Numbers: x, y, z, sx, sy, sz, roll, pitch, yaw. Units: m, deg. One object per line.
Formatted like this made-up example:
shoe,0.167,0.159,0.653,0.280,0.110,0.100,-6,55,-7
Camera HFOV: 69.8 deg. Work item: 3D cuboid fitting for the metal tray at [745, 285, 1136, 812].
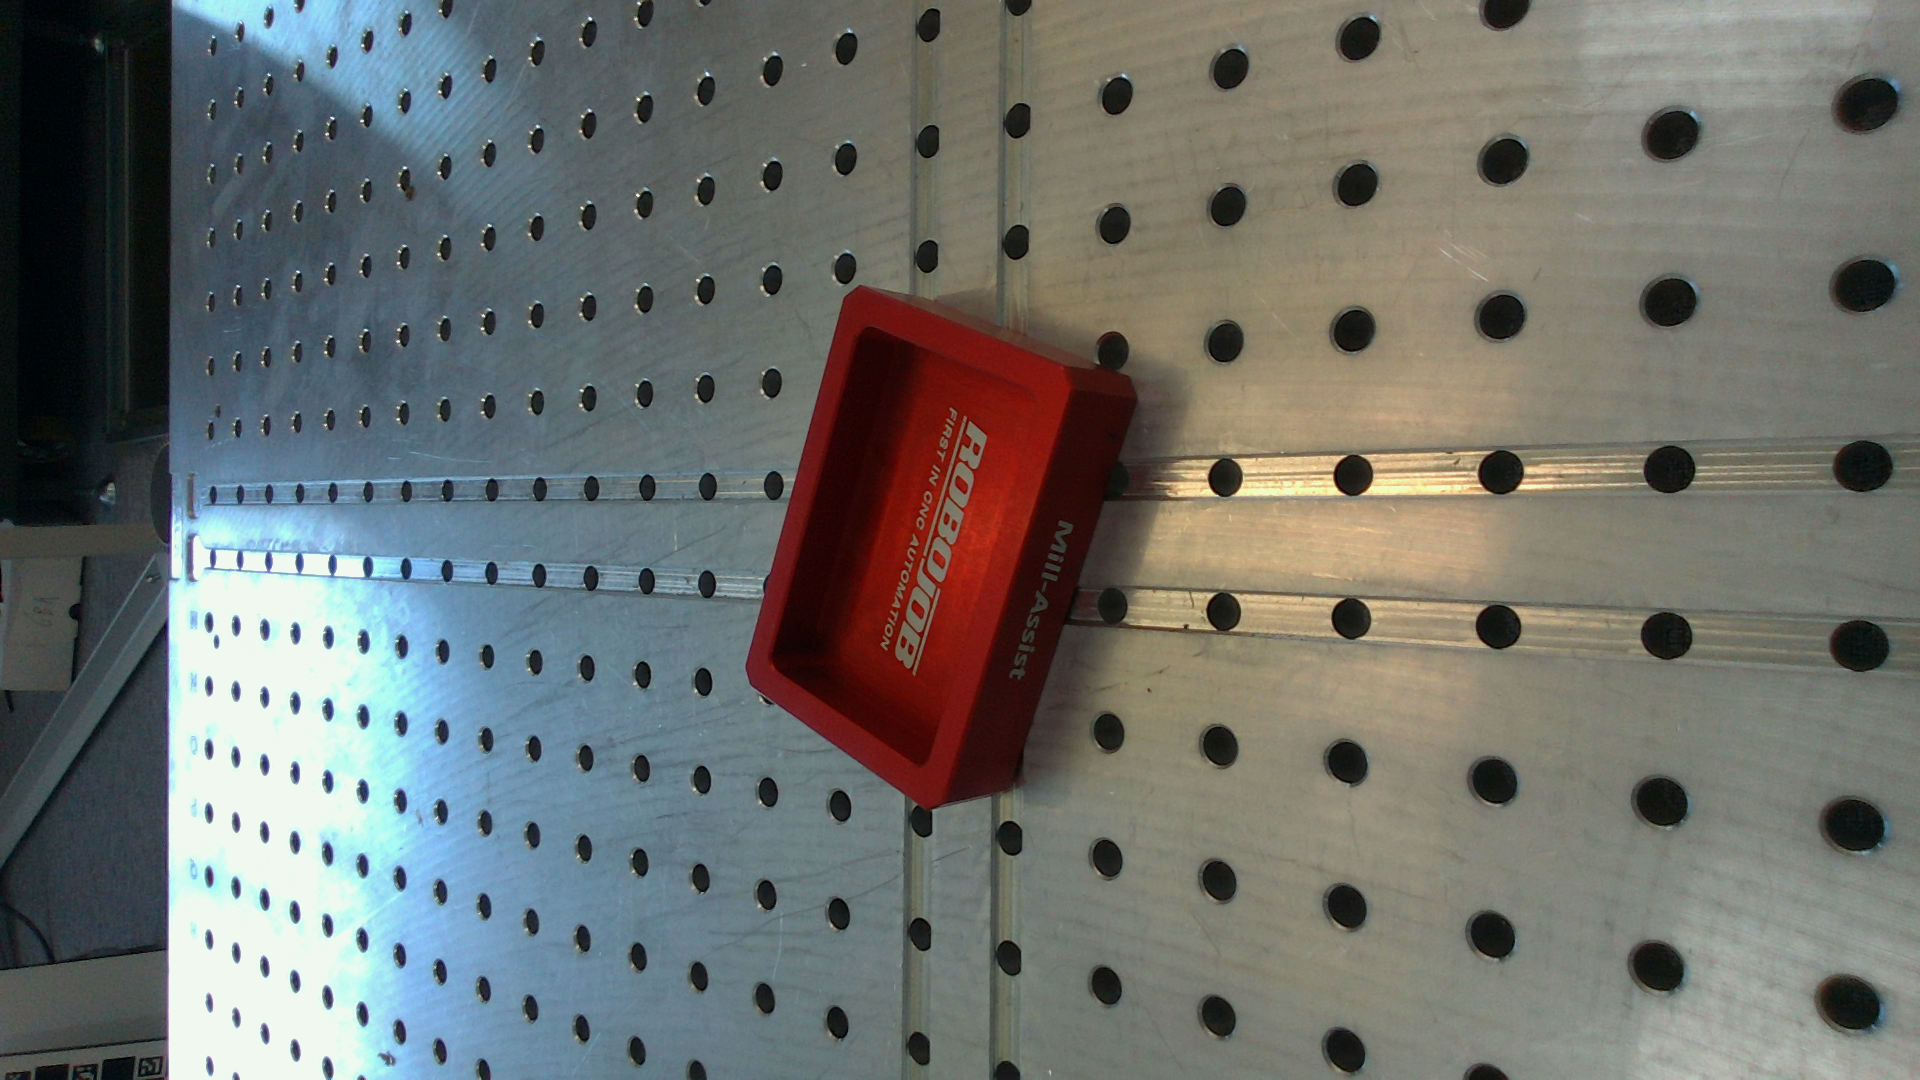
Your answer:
metal tray,-0.010,0.001,0.403,0.090,0.030,0.130,27,107,36
